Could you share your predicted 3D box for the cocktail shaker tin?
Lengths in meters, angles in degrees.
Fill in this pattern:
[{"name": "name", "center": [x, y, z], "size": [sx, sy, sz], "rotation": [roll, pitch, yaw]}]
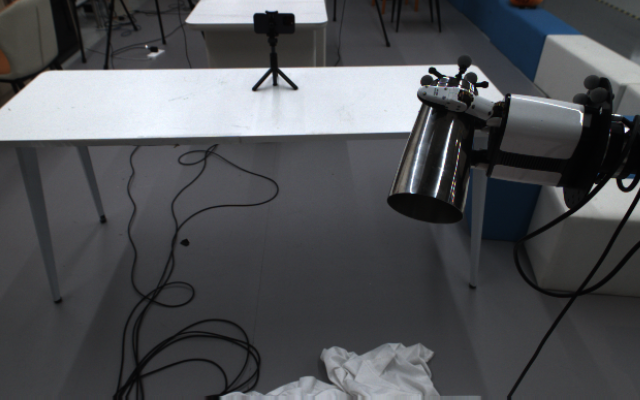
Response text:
[{"name": "cocktail shaker tin", "center": [0.152, -0.069, 0.611], "size": [0.093, 0.093, 0.170], "rotation": [12, 72, 15]}]
